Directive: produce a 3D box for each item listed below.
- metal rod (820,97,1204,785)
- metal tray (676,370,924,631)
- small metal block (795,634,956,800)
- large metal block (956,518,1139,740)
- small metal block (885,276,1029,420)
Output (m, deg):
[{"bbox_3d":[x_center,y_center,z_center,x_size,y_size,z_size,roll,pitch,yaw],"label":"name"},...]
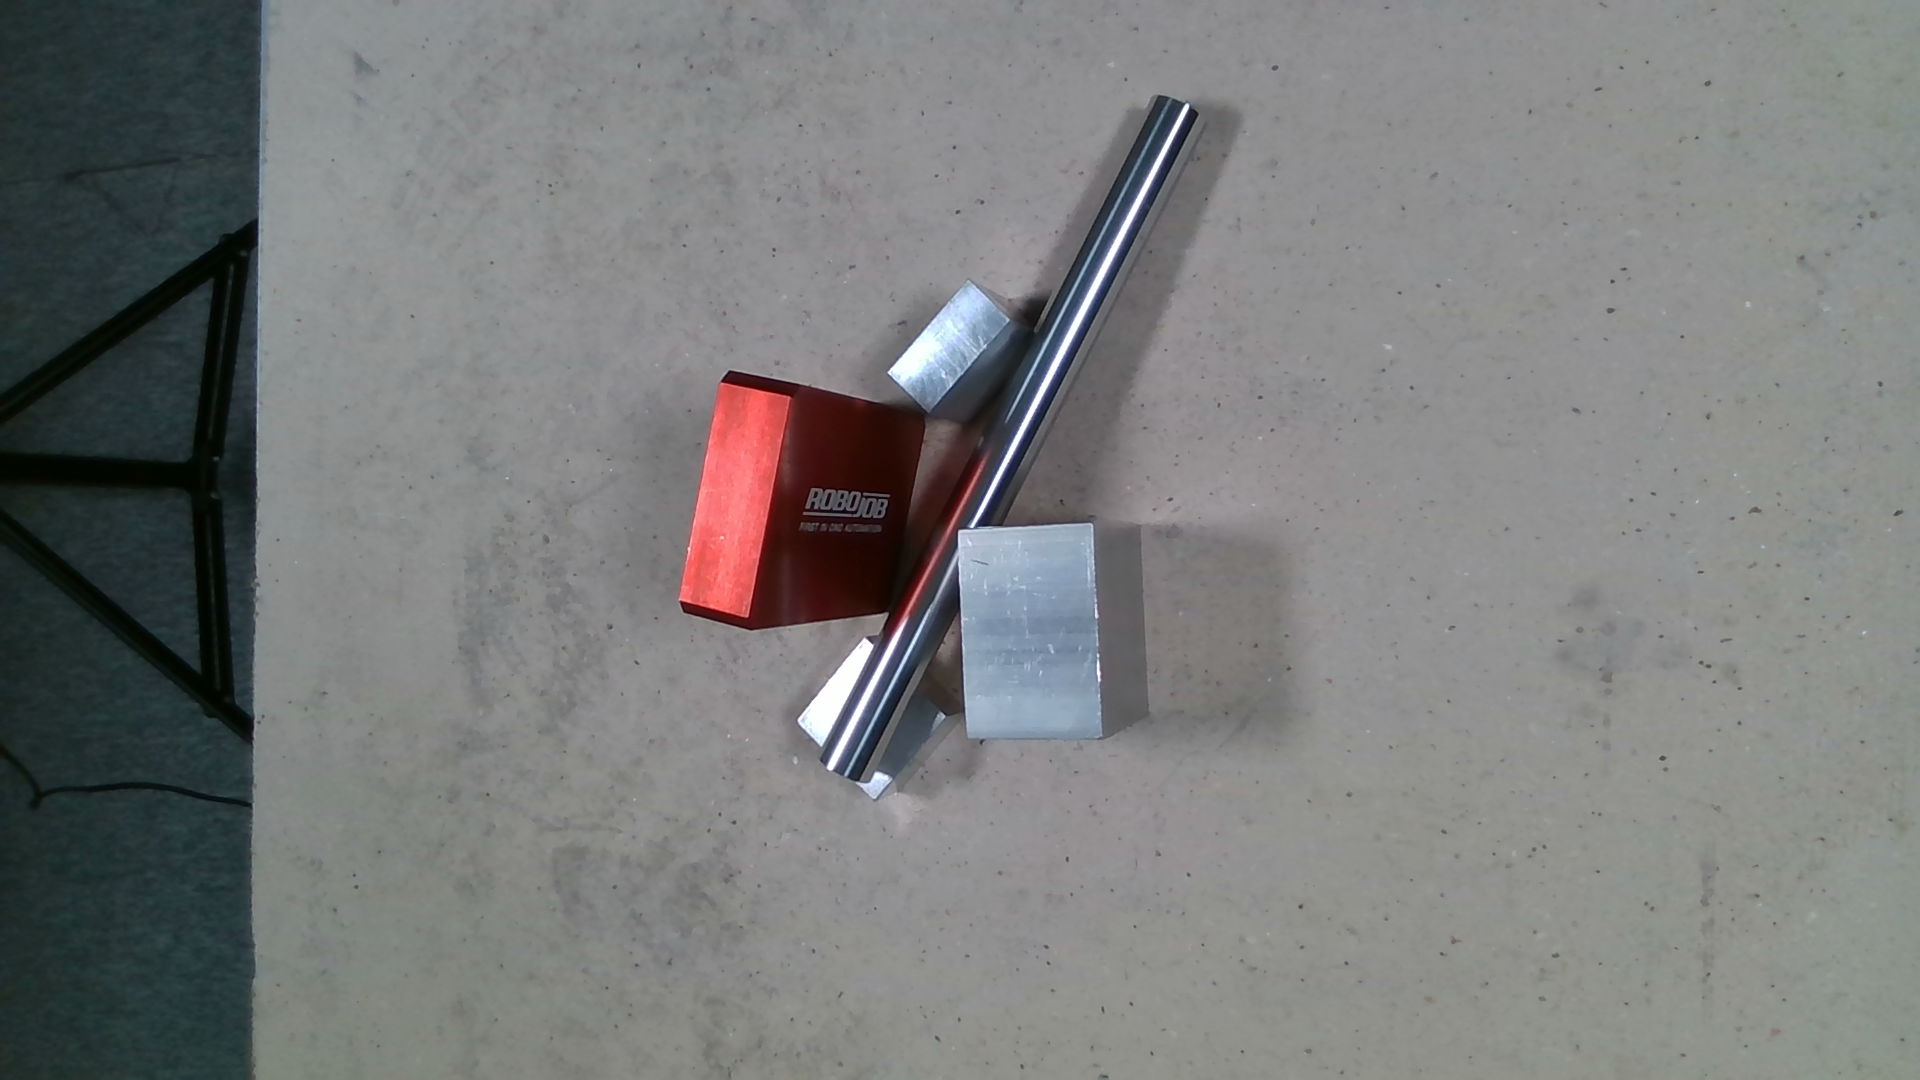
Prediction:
[{"bbox_3d":[0.020,-0.038,0.563,0.025,0.025,0.300,28,95,18],"label":"metal rod"},{"bbox_3d":[-0.059,-0.014,0.552,0.030,0.130,0.090,13,95,20],"label":"metal tray"},{"bbox_3d":[-0.034,0.076,0.600,0.050,0.025,0.050,43,104,15],"label":"small metal block"},{"bbox_3d":[0.037,0.033,0.542,0.050,0.080,0.080,-2,90,20],"label":"large metal block"},{"bbox_3d":[0.003,-0.078,0.570,0.025,0.050,0.050,46,105,14],"label":"small metal block"}]
